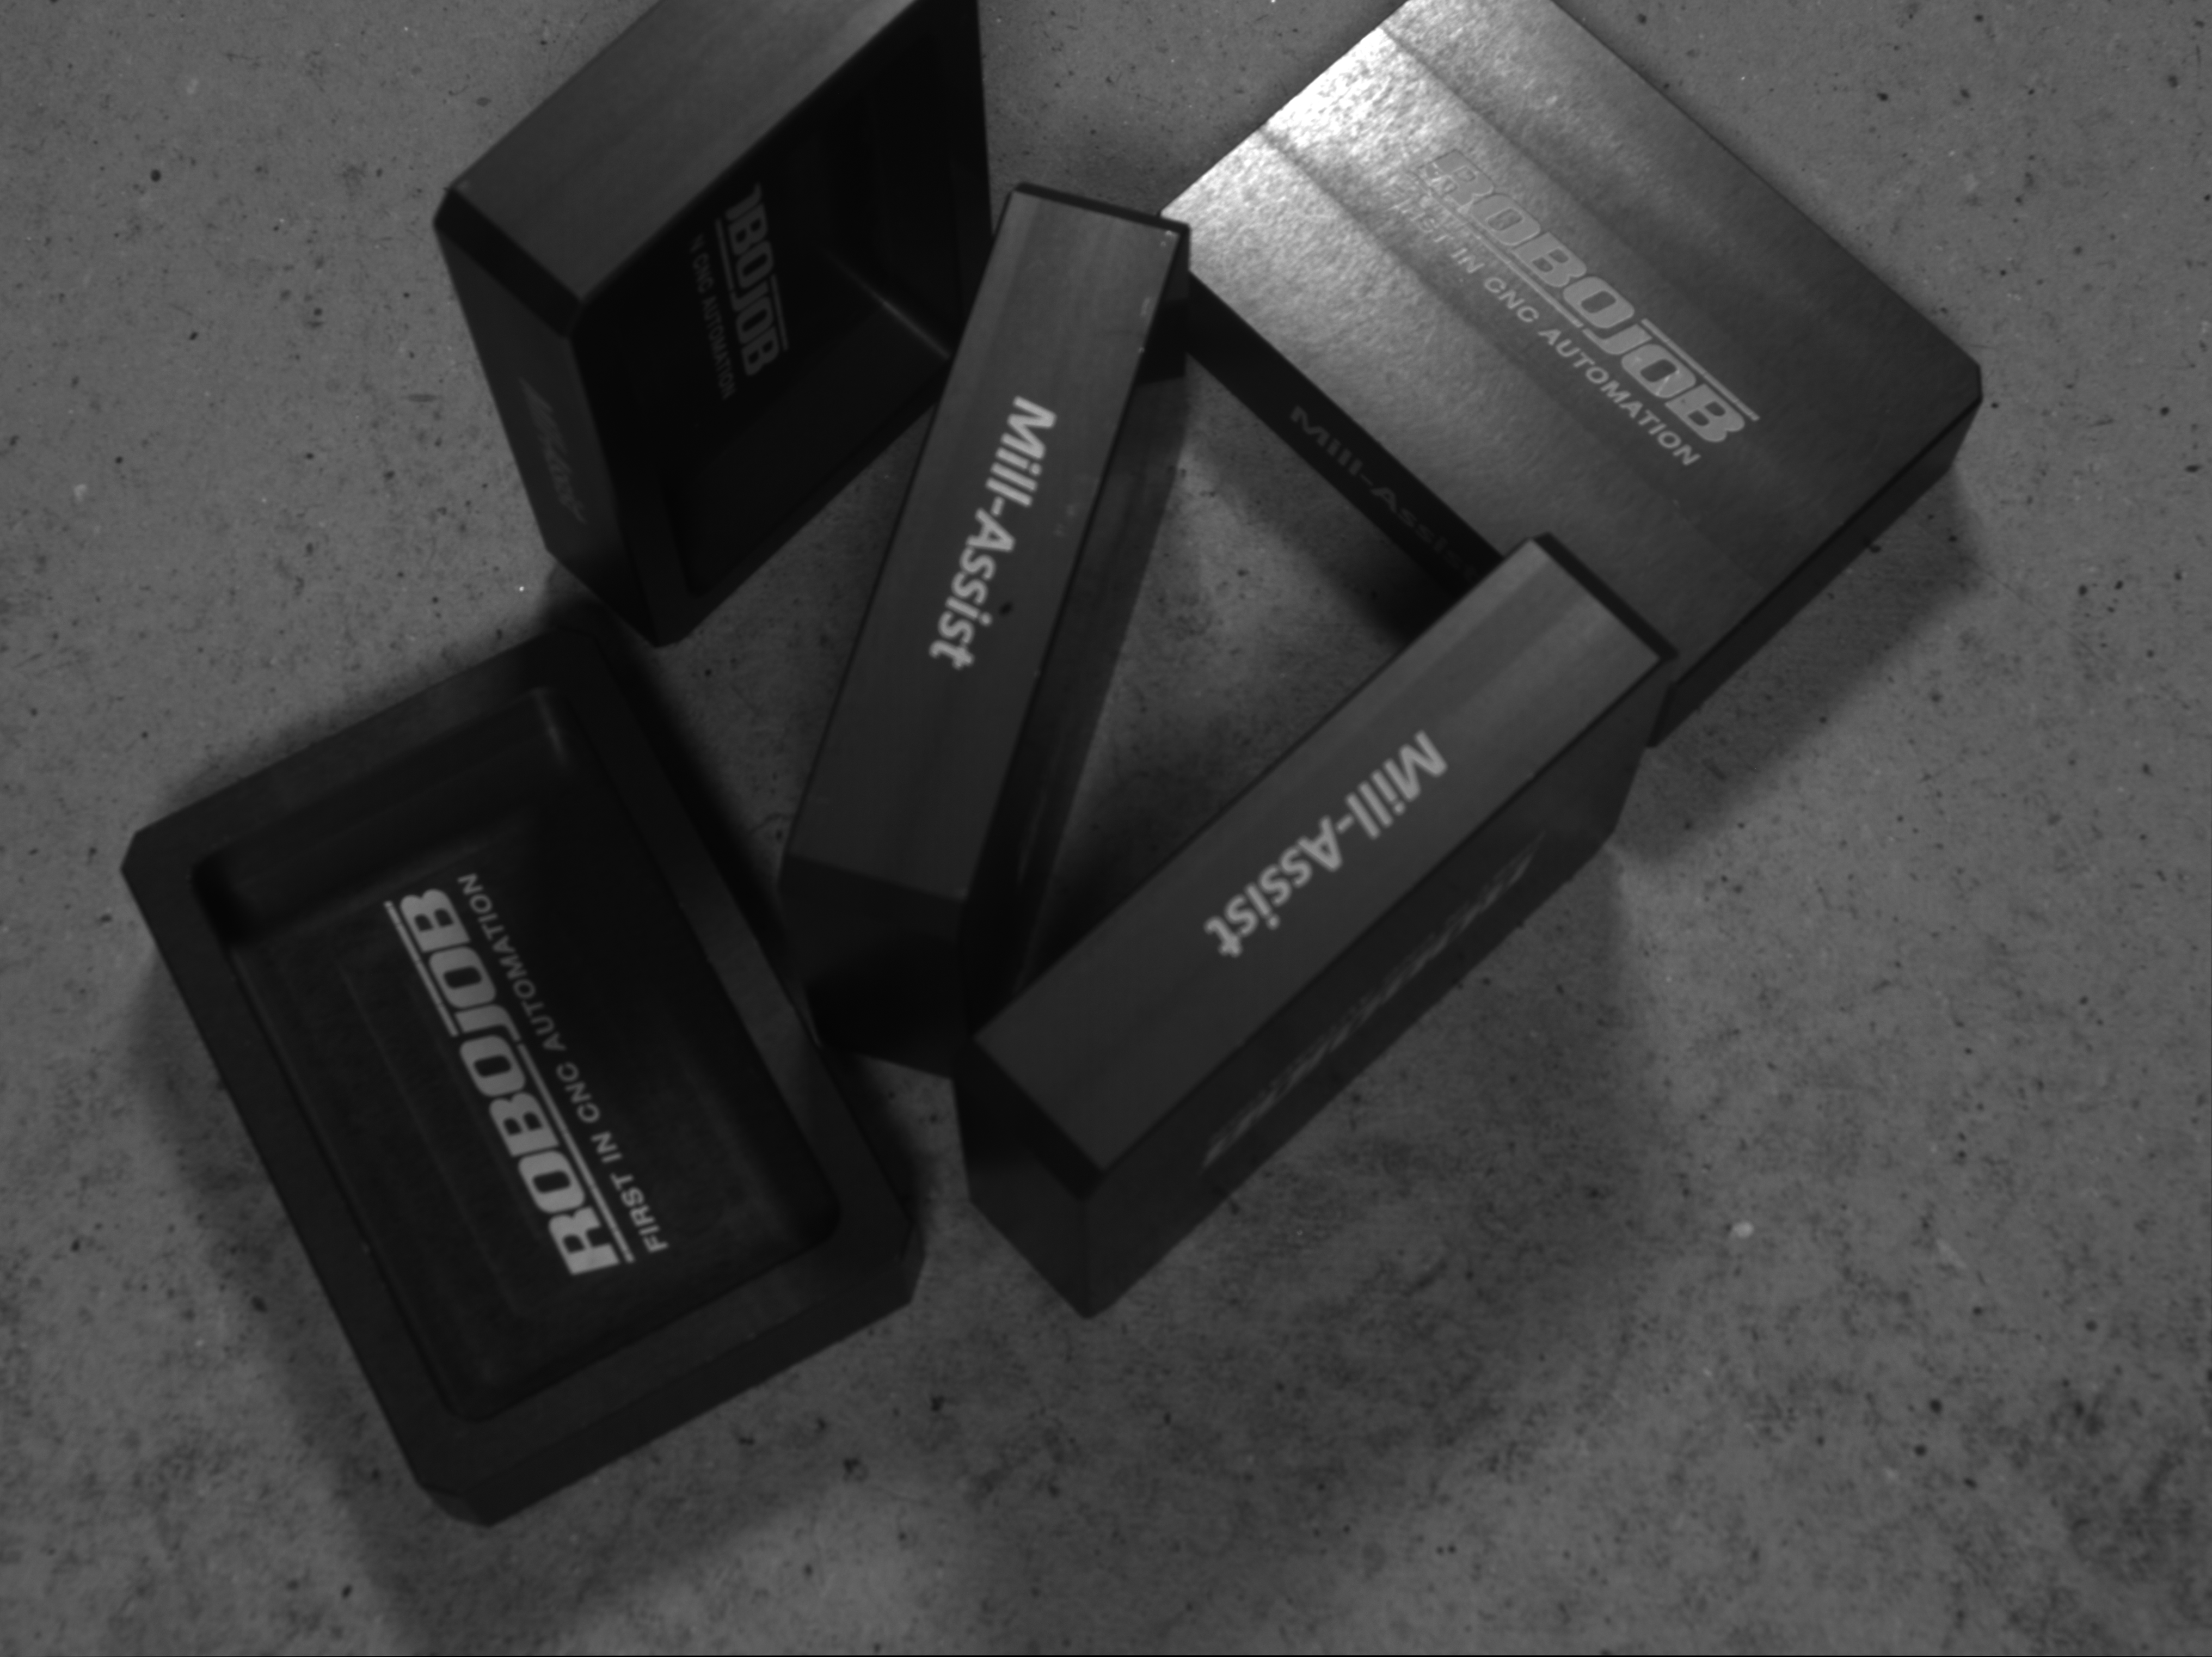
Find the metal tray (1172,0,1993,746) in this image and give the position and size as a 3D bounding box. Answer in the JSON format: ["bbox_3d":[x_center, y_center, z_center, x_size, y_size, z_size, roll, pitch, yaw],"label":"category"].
[{"bbox_3d":[0.085,-0.090,0.675,0.090,0.030,0.130,-42,75,-14],"label":"metal tray"}]

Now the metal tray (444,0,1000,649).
[{"bbox_3d":[-0.060,-0.093,0.623,0.030,0.130,0.090,42,75,14],"label":"metal tray"}]

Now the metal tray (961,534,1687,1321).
[{"bbox_3d":[0.035,0.018,0.603,0.130,0.090,0.030,-42,75,-14],"label":"metal tray"}]

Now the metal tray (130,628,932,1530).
[{"bbox_3d":[-0.098,0.041,0.627,0.090,0.030,0.130,-27,72,-10],"label":"metal tray"}]

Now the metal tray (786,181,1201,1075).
[{"bbox_3d":[-0.017,-0.031,0.621,0.030,0.090,0.130,15,71,6],"label":"metal tray"}]
